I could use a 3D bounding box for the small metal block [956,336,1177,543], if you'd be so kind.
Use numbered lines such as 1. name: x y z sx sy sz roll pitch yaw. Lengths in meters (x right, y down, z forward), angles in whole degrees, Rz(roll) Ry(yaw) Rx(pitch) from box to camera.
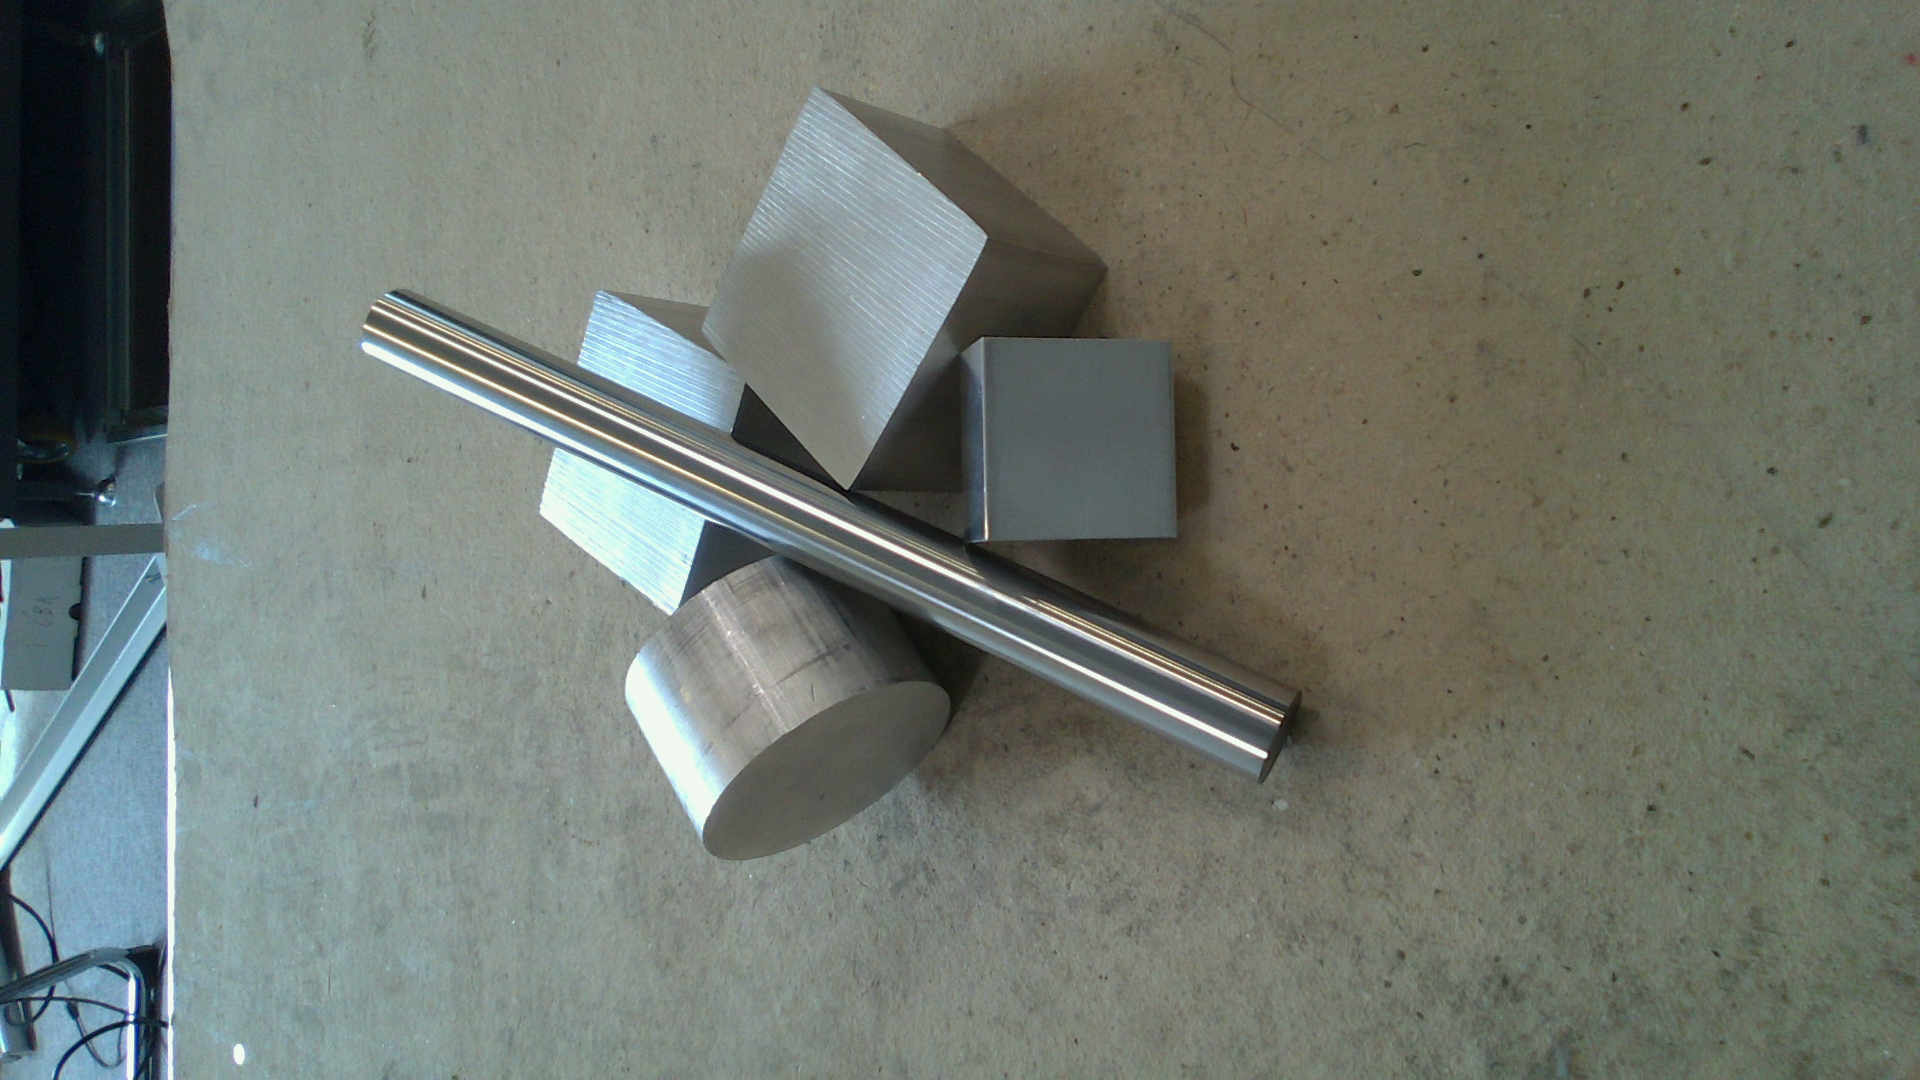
1. small metal block: 0.027 -0.025 0.353 0.025 0.050 0.050 174 94 -76

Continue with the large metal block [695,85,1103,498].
1. large metal block: -0.020 -0.068 0.392 0.080 0.050 0.080 47 118 30

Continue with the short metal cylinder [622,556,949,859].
1. short metal cylinder: -0.050 0.048 0.401 0.080 0.080 0.050 -52 60 28

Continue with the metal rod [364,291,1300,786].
1. metal rod: -0.051 -0.010 0.384 0.299 0.025 0.025 24 106 20

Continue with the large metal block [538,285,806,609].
1. large metal block: -0.086 -0.029 0.451 0.080 0.050 0.080 31 110 36
